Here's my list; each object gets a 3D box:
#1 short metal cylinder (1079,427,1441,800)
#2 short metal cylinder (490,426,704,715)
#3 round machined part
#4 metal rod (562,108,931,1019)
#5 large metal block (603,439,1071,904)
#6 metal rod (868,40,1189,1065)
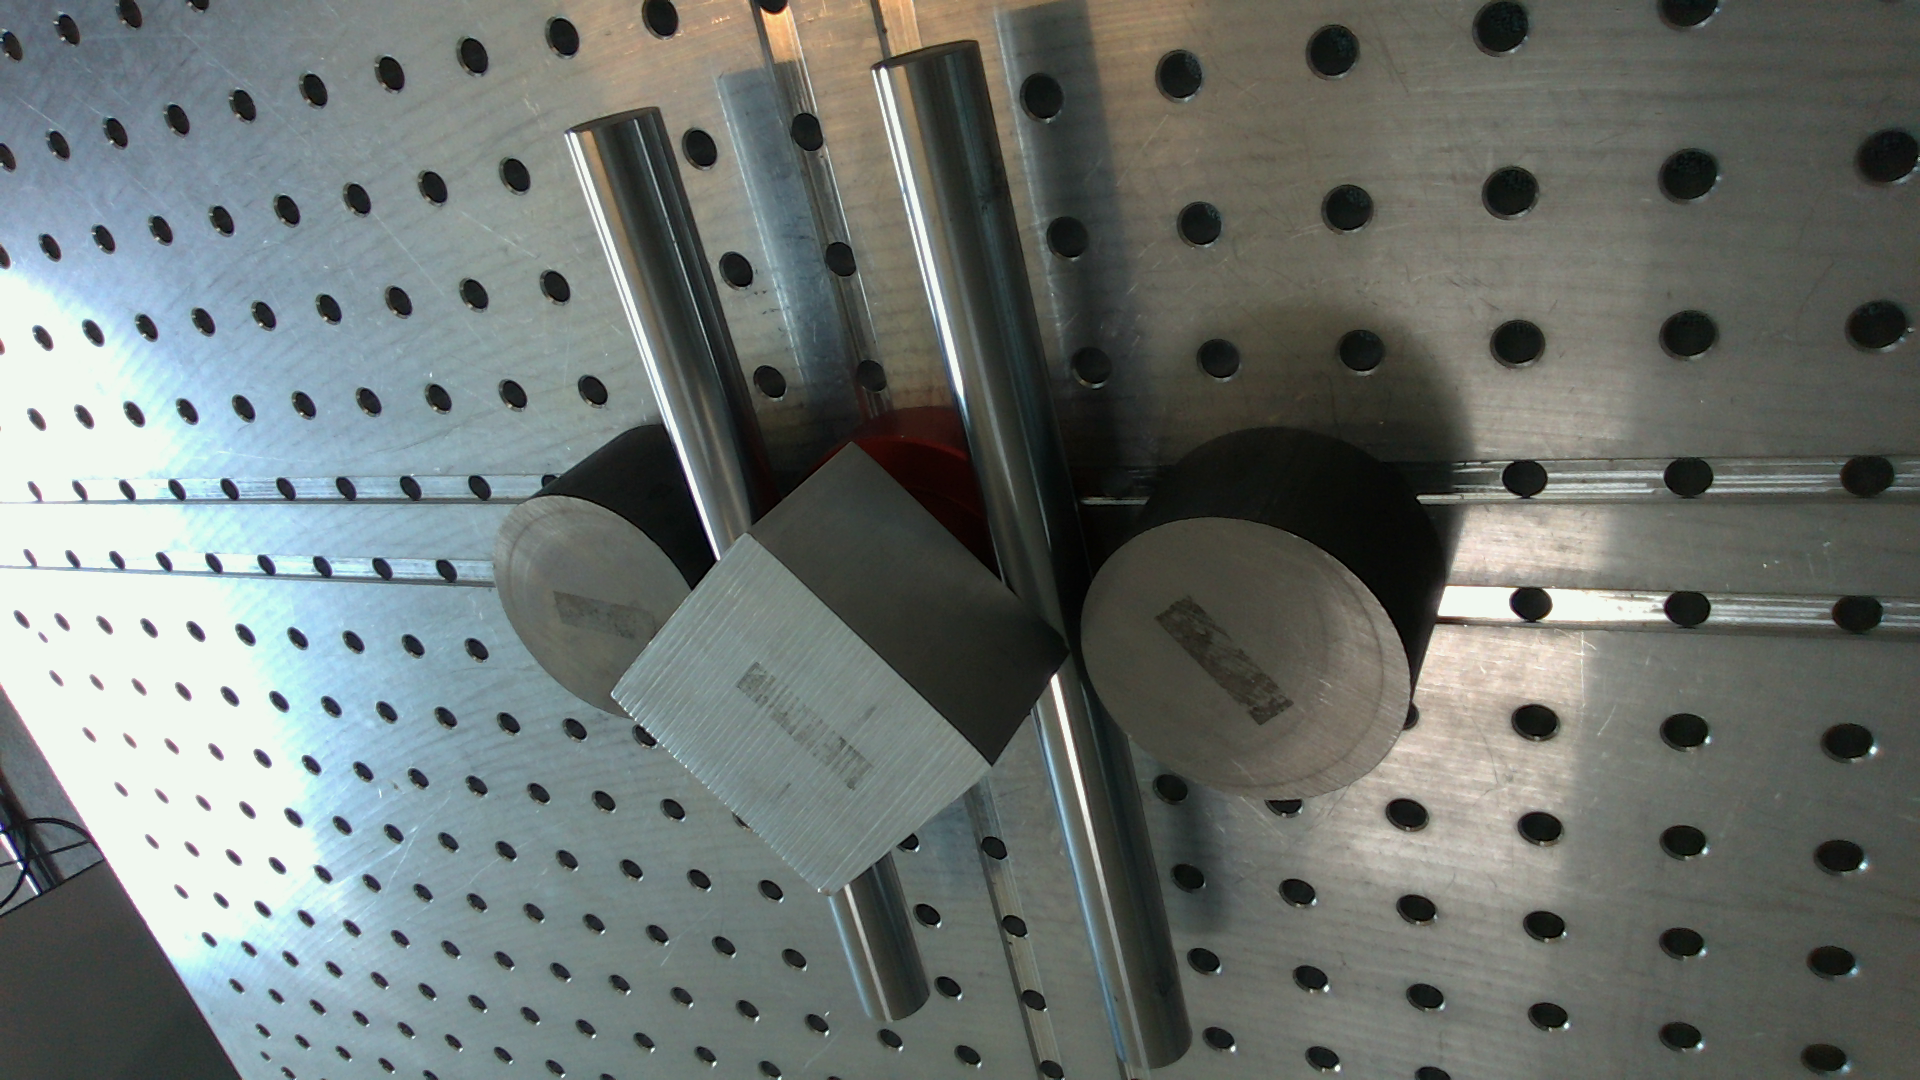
[{"bbox_3d":[0.077,0.018,0.349,0.080,0.050,0.080,13,124,21],"label":"short metal cylinder"},{"bbox_3d":[-0.101,0.010,0.440,0.080,0.050,0.080,13,124,21],"label":"short metal cylinder"},{"bbox_3d":[-0.011,0.014,0.400,0.098,0.042,0.098,13,124,21],"label":"round machined part"},{"bbox_3d":[-0.056,0.025,0.414,0.025,0.025,0.300,0,119,28],"label":"metal rod"},{"bbox_3d":[-0.033,0.035,0.358,0.080,0.050,0.080,44,129,-2],"label":"large metal block"},{"bbox_3d":[0.026,0.024,0.370,0.025,0.025,0.300,0,119,28],"label":"metal rod"}]
